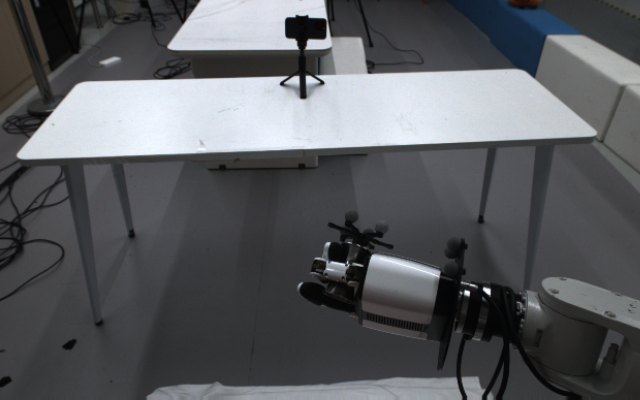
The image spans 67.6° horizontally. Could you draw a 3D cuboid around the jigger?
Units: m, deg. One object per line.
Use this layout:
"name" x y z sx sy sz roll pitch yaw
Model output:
"jigger" 0.035 0.089 0.608 0.043 0.043 0.071 16 70 19
